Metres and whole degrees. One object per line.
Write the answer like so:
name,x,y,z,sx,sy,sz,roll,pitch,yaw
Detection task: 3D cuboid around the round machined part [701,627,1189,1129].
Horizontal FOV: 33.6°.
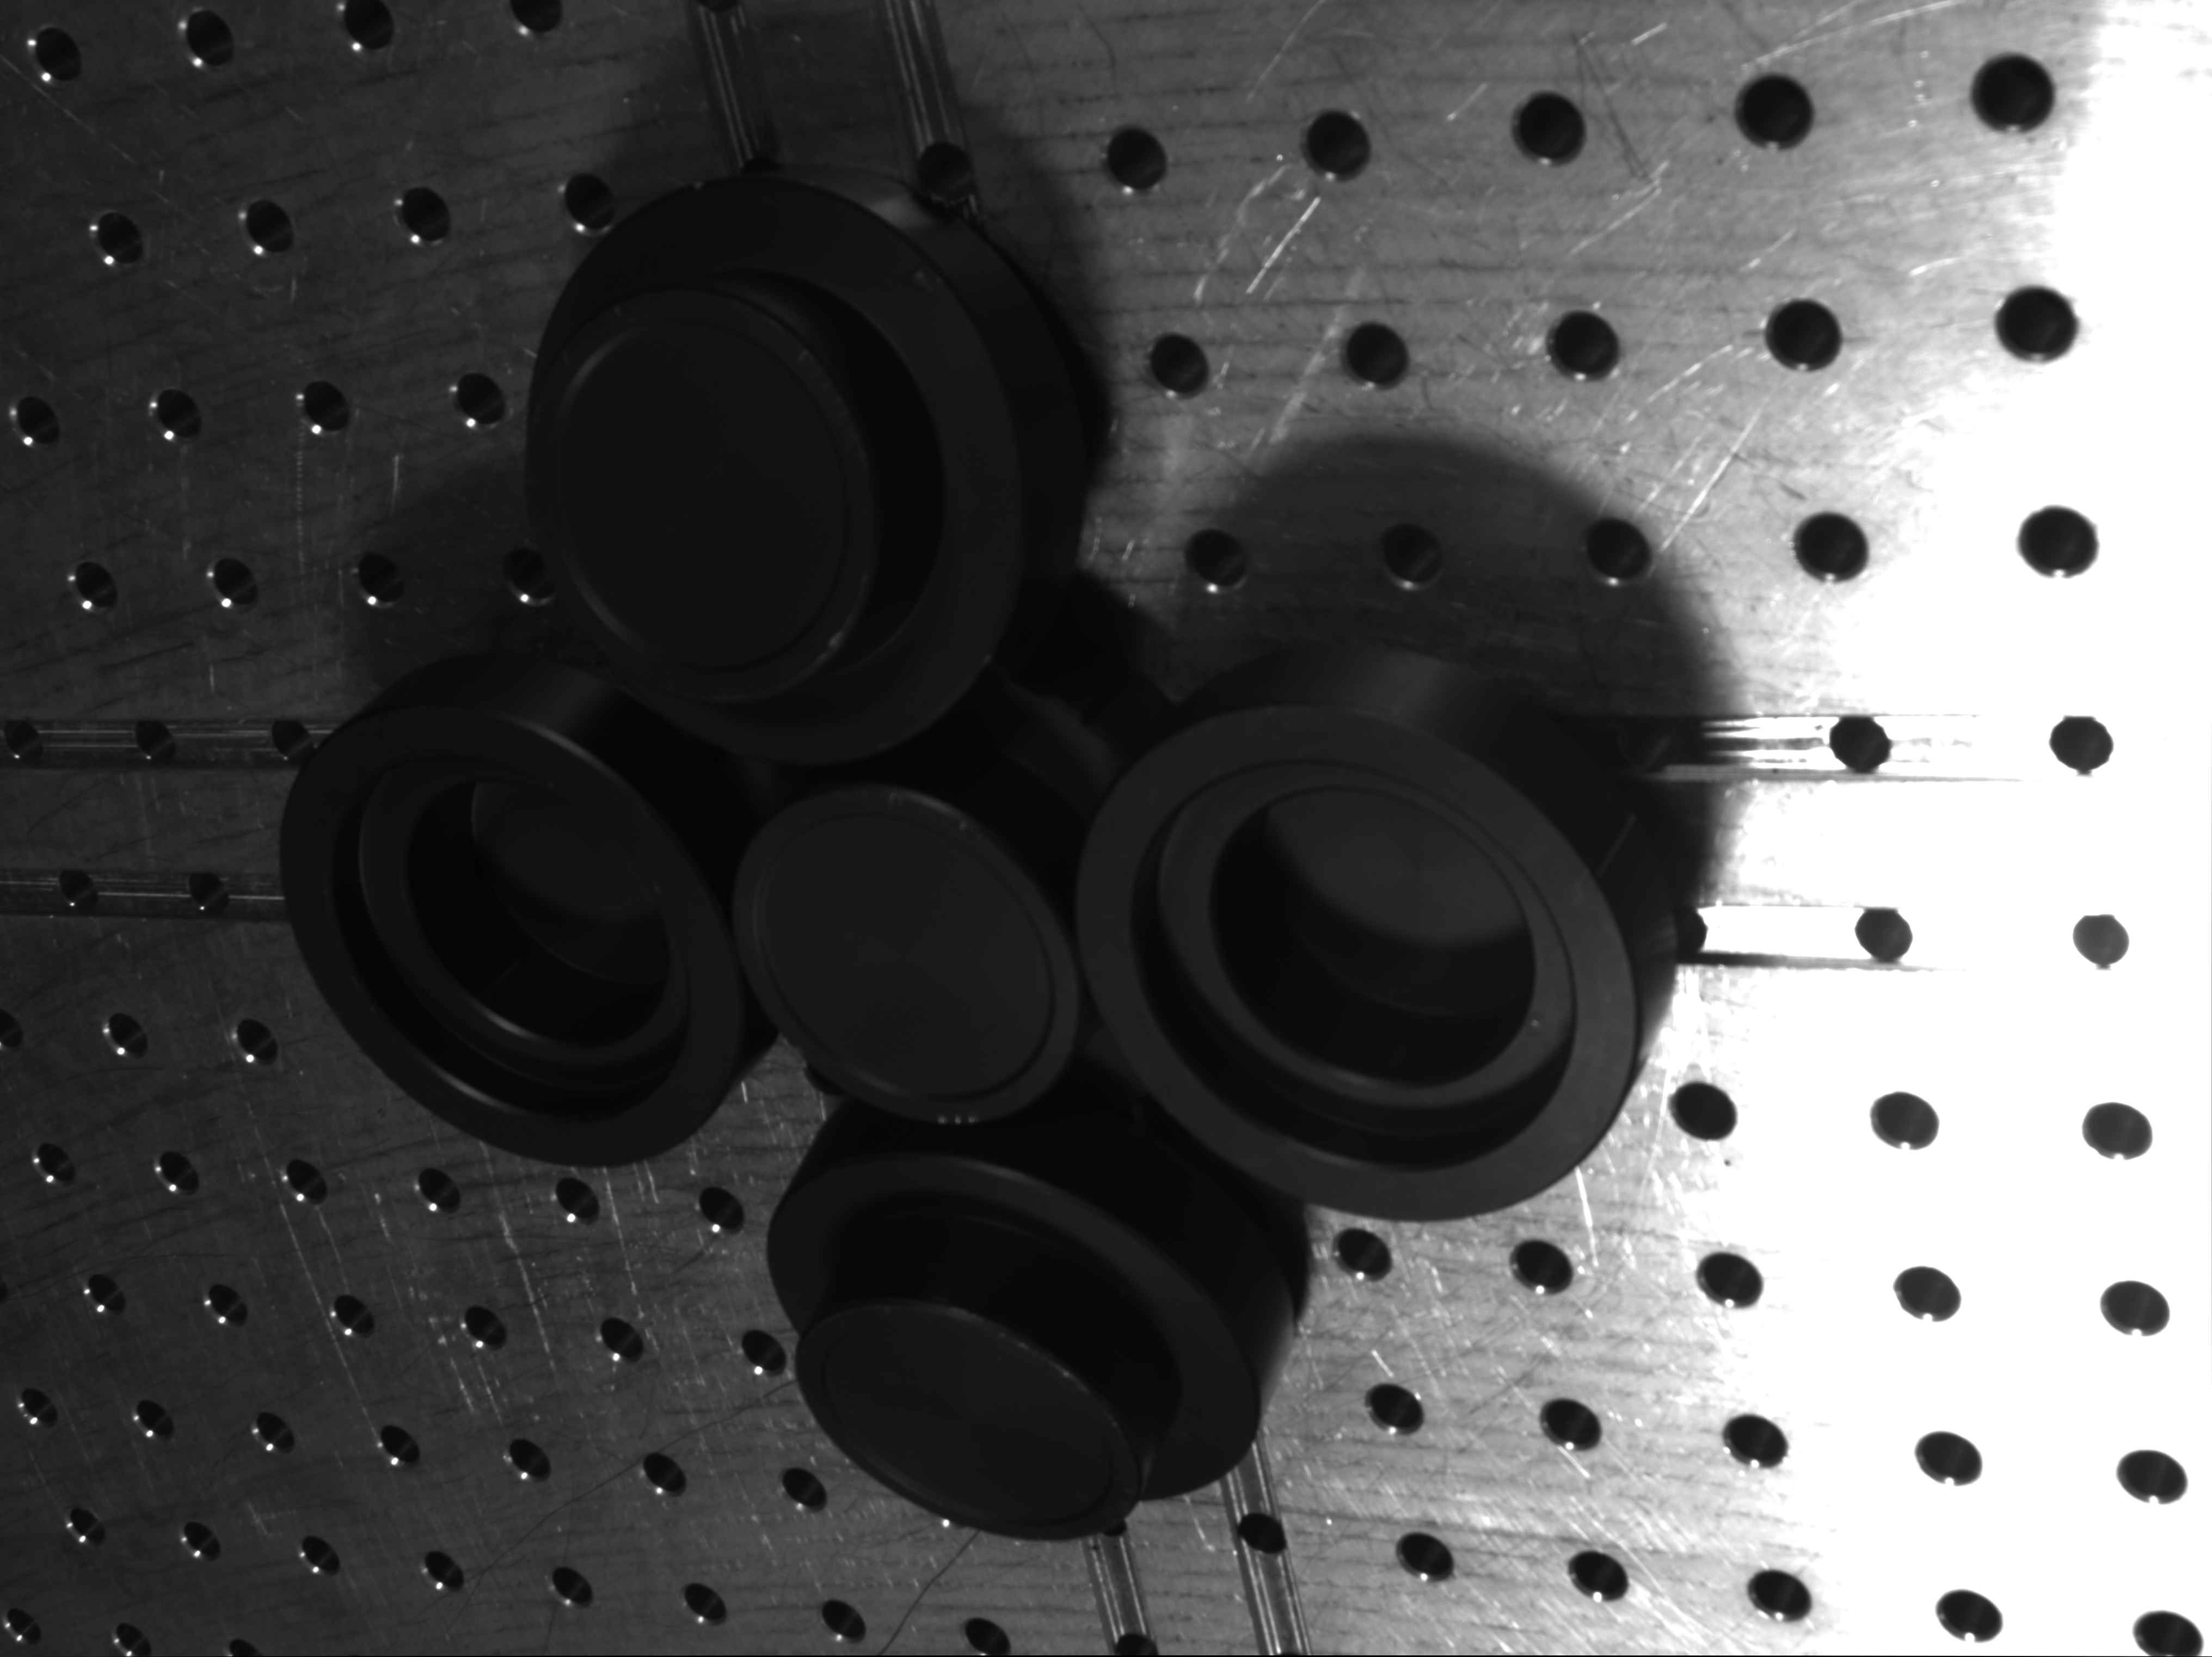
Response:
round machined part,-0.030,0.013,0.645,0.098,0.042,0.098,12,123,20

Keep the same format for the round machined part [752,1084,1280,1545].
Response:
round machined part,-0.021,0.095,0.676,0.098,0.042,0.098,14,138,13

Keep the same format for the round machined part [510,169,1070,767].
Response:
round machined part,-0.059,-0.058,0.603,0.098,0.042,0.098,8,107,26

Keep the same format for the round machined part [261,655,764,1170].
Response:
round machined part,-0.104,0.011,0.682,0.098,0.042,0.098,12,123,20

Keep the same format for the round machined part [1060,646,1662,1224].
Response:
round machined part,0.045,0.014,0.608,0.098,0.042,0.098,12,123,20
